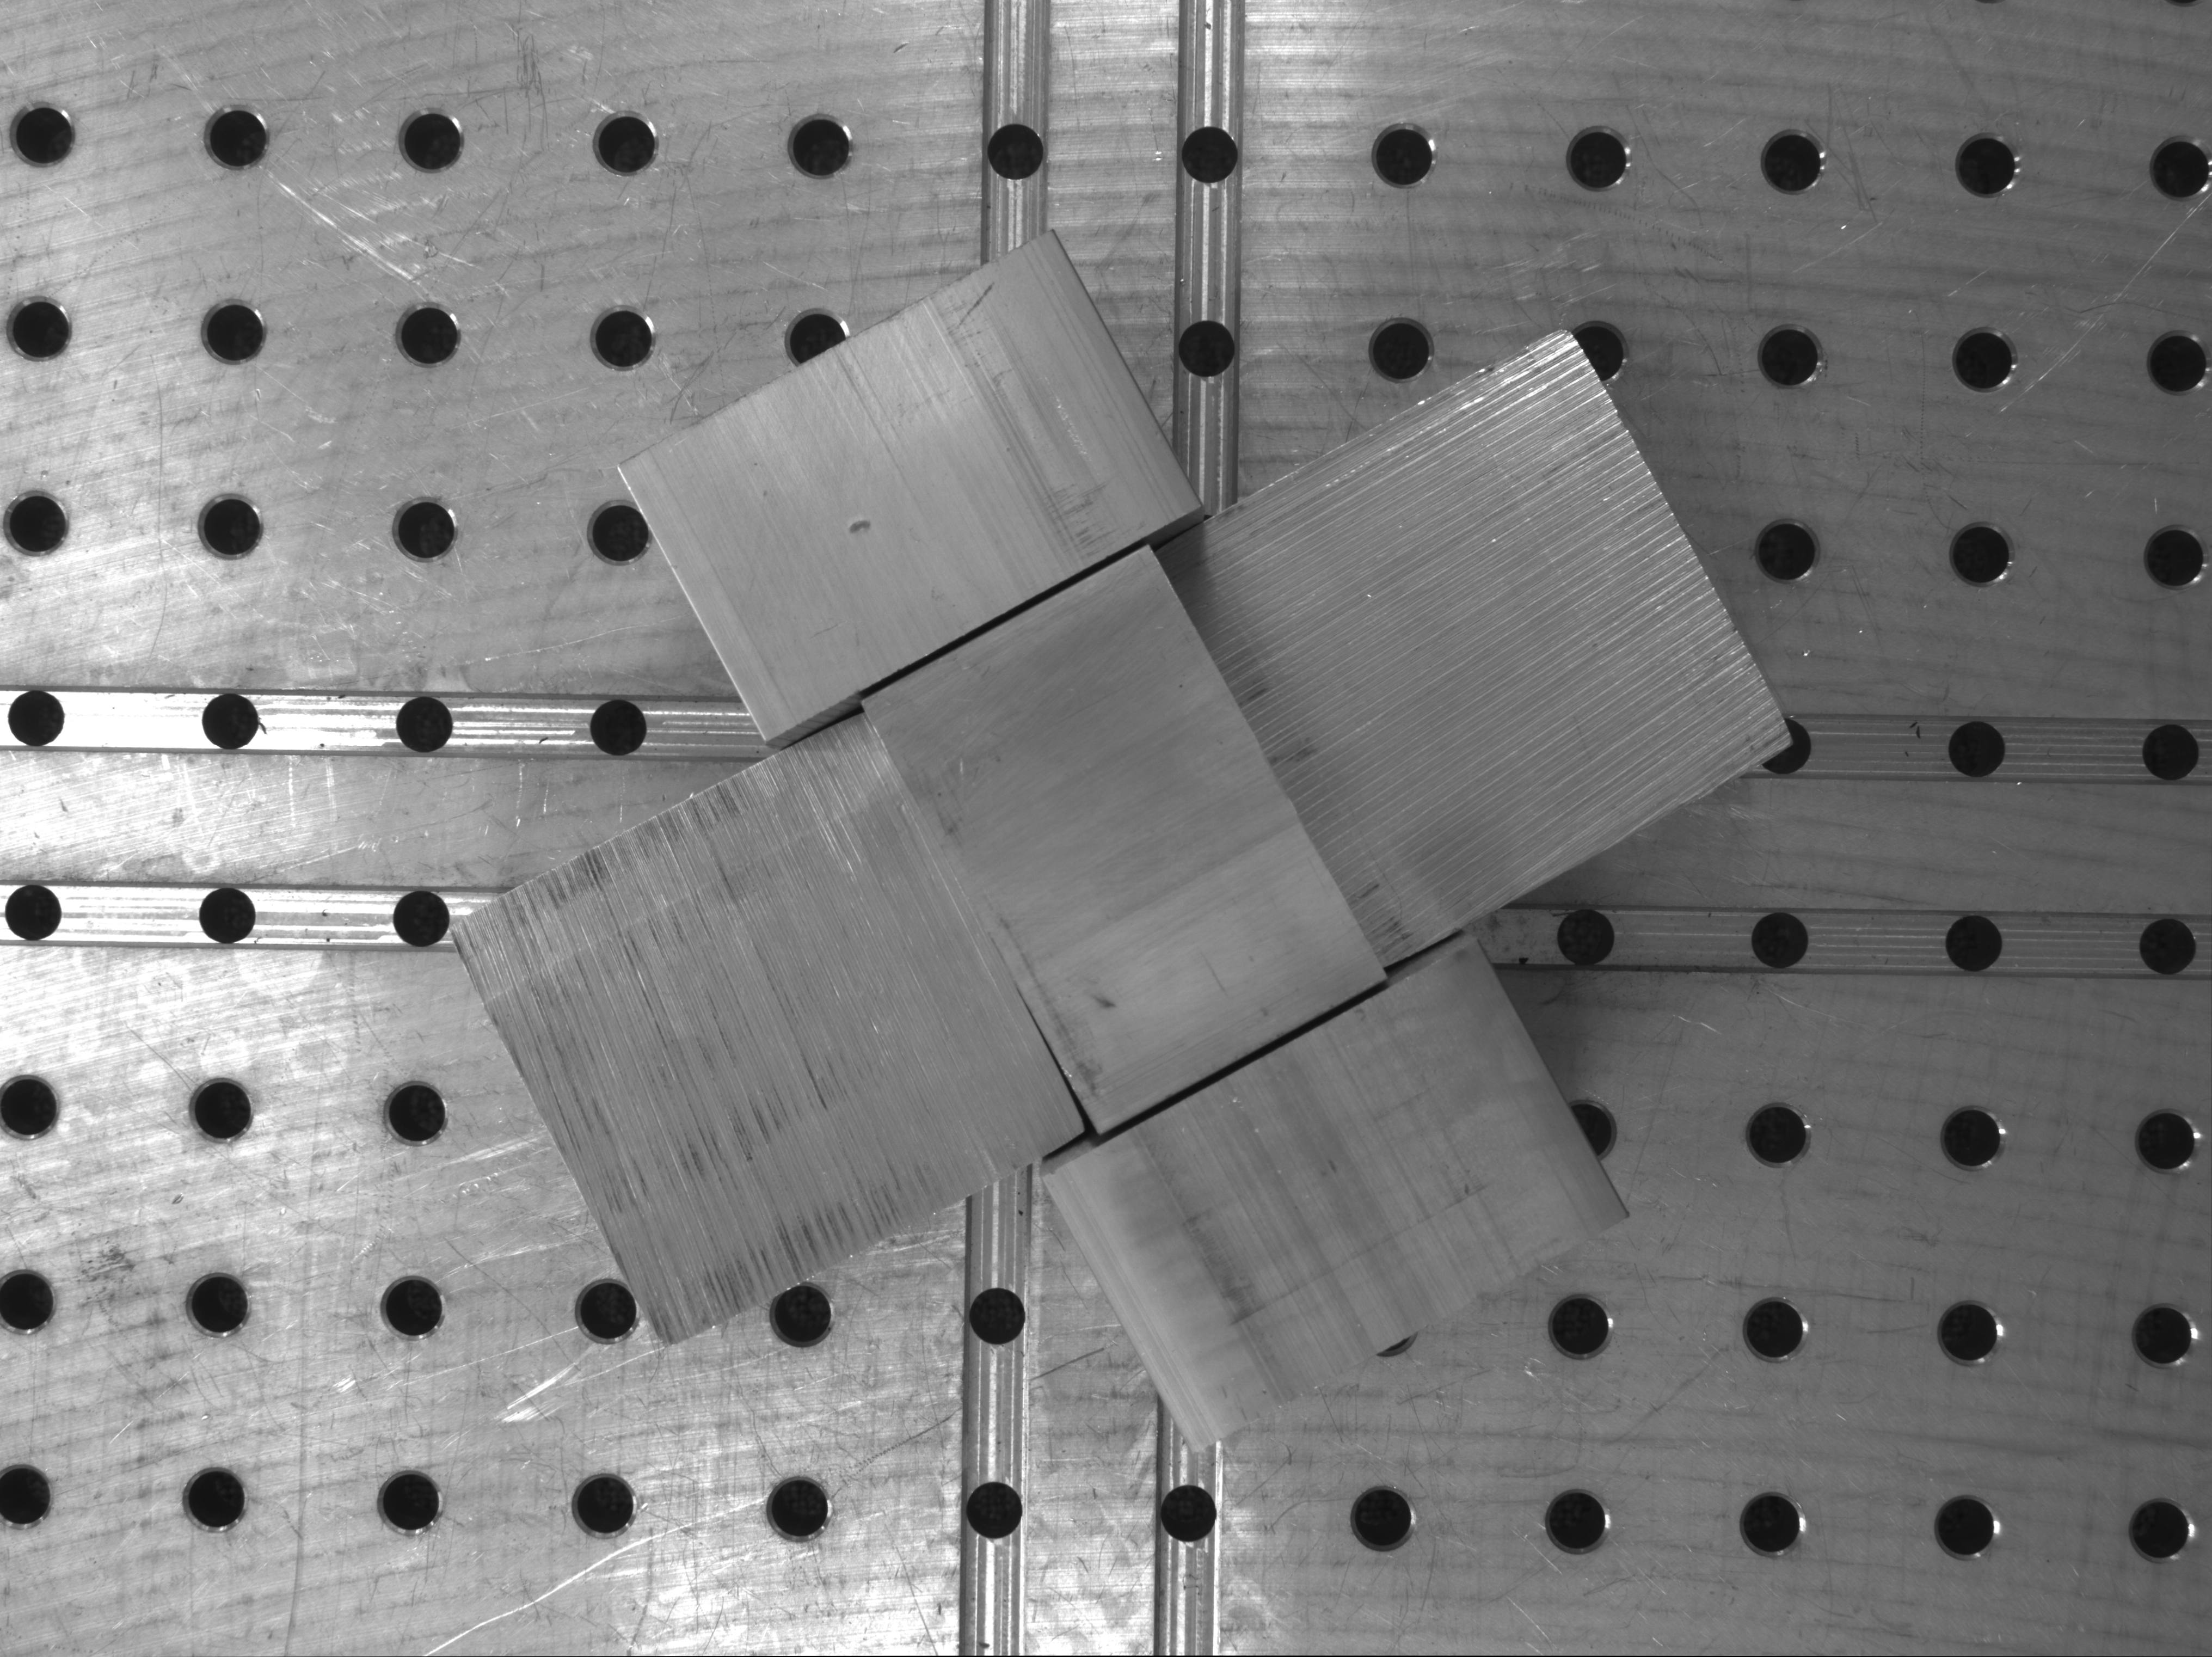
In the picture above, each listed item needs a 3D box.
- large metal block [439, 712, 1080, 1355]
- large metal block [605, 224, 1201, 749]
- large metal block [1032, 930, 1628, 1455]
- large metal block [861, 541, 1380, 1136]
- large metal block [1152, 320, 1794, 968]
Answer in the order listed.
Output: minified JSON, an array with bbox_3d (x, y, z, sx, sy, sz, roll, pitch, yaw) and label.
[{"bbox_3d":[-0.057,0.034,0.637,0.080,0.050,0.080,-27,89,0],"label":"large metal block"},{"bbox_3d":[-0.032,-0.054,0.620,0.080,0.080,0.050,-28,89,0],"label":"large metal block"},{"bbox_3d":[0.035,0.058,0.621,0.080,0.080,0.050,-29,90,-1],"label":"large metal block"},{"bbox_3d":[0.003,0.002,0.621,0.050,0.080,0.080,-29,90,0],"label":"large metal block"},{"bbox_3d":[0.060,-0.031,0.635,0.080,0.050,0.080,-29,92,0],"label":"large metal block"}]
